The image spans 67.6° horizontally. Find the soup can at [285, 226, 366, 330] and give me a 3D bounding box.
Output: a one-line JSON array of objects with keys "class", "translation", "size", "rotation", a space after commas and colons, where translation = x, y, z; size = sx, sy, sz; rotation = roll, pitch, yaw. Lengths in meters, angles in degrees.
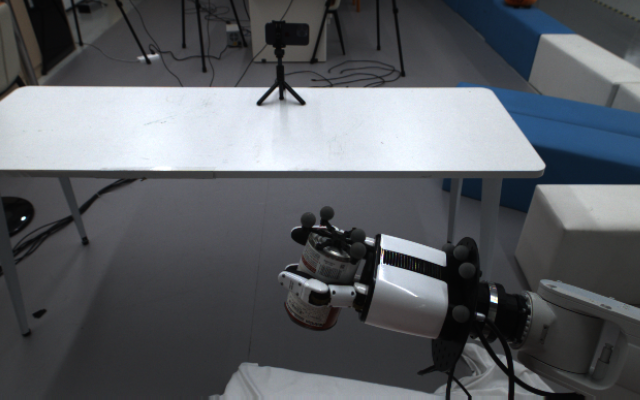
[{"class": "soup can", "translation": [0.006, 0.093, 0.571], "size": [0.067, 0.101, 0.067], "rotation": [17, 21, -7]}]
